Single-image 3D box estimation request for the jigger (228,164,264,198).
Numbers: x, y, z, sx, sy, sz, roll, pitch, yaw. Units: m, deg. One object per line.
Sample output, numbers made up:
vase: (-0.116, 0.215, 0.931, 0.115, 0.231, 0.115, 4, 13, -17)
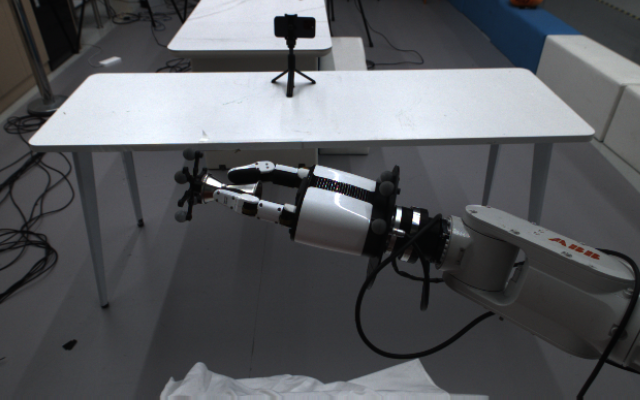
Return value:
jigger: (-0.105, -0.011, 0.617, 0.071, 0.043, 0.043, 9, 35, 3)
